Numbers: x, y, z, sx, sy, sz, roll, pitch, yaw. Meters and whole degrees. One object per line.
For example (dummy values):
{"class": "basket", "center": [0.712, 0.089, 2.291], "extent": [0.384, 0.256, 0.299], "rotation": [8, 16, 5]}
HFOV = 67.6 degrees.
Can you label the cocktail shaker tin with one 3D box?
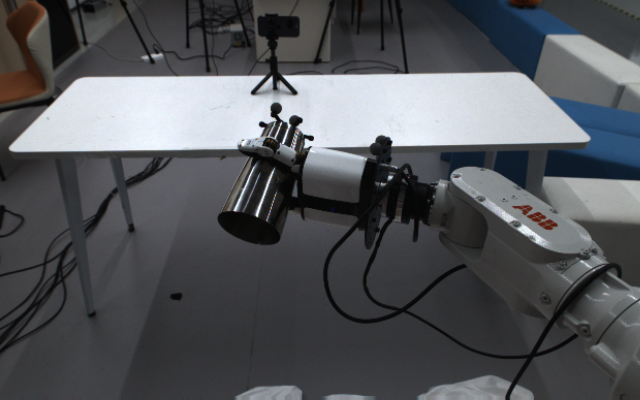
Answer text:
{"class": "cocktail shaker tin", "center": [-0.076, -0.030, 0.705], "extent": [0.093, 0.093, 0.170], "rotation": [10, 60, 12]}
